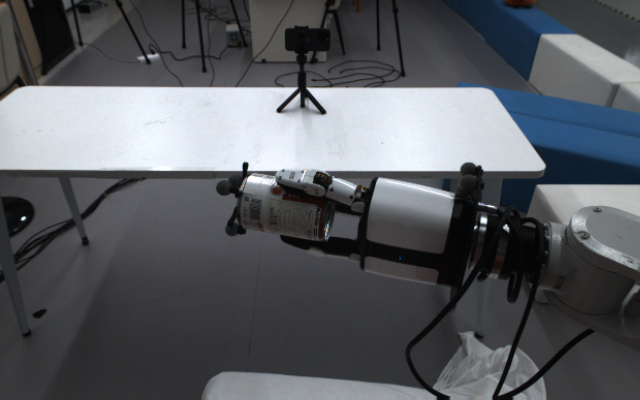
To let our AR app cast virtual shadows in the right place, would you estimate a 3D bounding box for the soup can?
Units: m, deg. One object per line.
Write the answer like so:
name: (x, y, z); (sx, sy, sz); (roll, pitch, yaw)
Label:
soup can: (-0.034, 0.008, 0.560); (0.101, 0.067, 0.067); (9, 35, 9)
